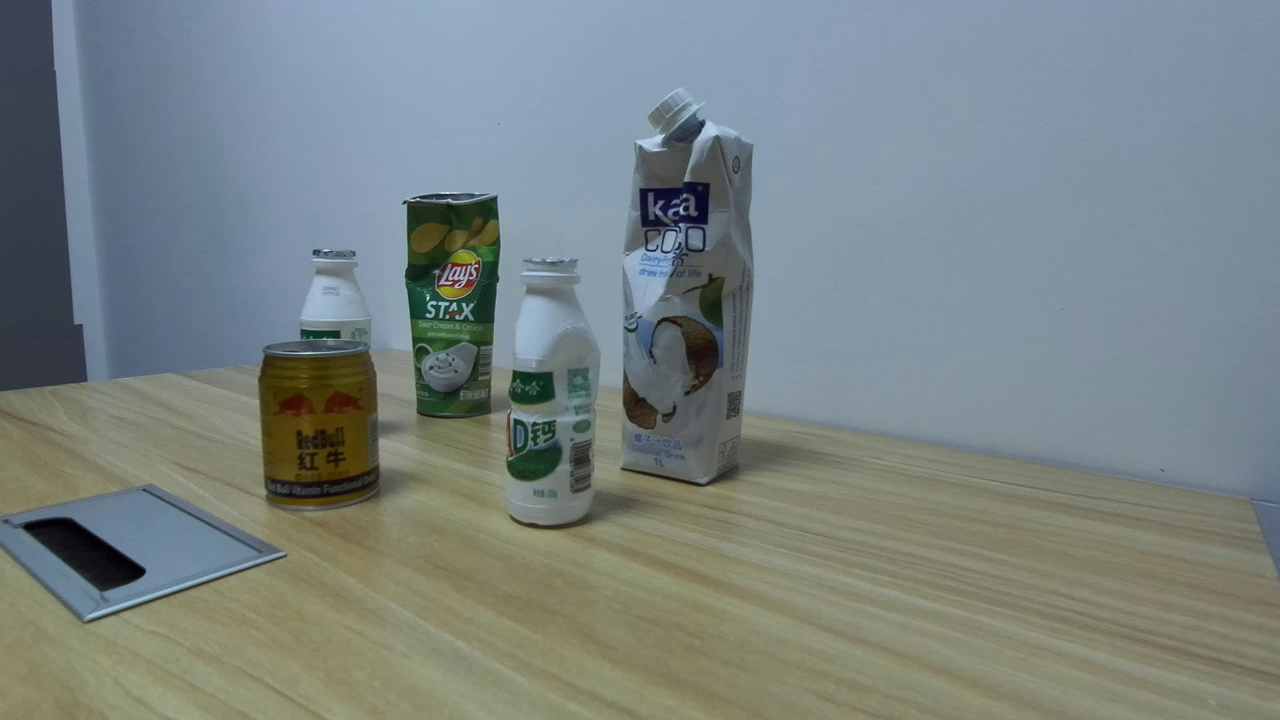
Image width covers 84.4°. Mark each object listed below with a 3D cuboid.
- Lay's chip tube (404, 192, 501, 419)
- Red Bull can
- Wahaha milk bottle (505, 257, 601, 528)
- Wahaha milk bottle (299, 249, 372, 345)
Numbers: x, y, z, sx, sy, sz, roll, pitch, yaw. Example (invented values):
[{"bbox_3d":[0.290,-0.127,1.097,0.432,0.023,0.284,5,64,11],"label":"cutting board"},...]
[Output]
[{"bbox_3d":[-0.173,-0.051,0.656,0.077,0.201,0.069,-6,13,-25],"label":"Lay's chip tube"},{"bbox_3d":[-0.195,0.038,0.432,0.067,0.093,0.067,1,9,0],"label":"Red Bull can"},{"bbox_3d":[-0.053,0.017,0.404,0.055,0.149,0.055,1,10,0],"label":"Wahaha milk bottle"},{"bbox_3d":[-0.239,-0.013,0.557,0.053,0.147,0.053,3,11,0],"label":"Wahaha milk bottle"}]
